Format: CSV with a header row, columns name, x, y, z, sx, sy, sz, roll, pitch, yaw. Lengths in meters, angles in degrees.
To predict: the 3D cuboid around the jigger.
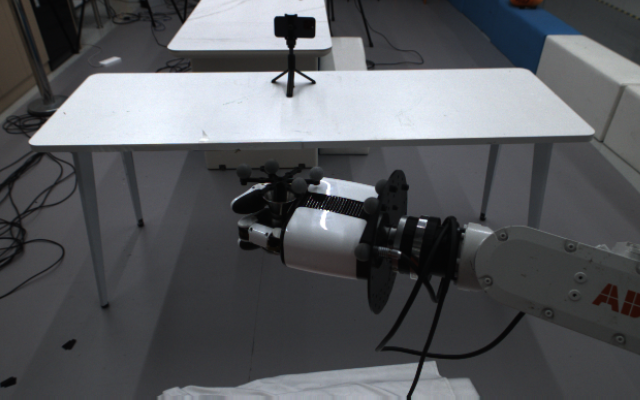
name,x,y,z,sx,sy,sz,roll,pitch,yaw
jigger,-0.043,0.024,0.572,0.043,0.071,0.043,3,25,-1
